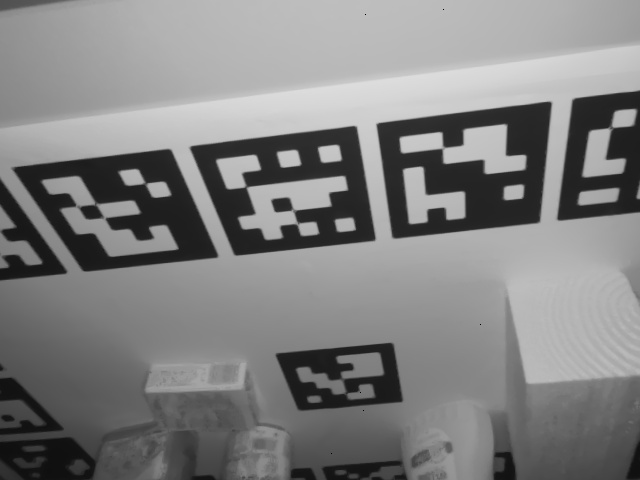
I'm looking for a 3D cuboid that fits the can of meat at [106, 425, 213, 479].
[{"bbox_3d":[-0.158,0.231,0.673,0.101,0.084,0.058,-15,131,16],"label":"can of meat"}]

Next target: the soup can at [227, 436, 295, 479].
[{"bbox_3d":[-0.059,0.251,0.667,0.068,0.103,0.067,-1,132,0],"label":"soup can"}]

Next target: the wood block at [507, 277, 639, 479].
[{"bbox_3d":[0.215,0.131,0.579,0.091,0.090,0.205,-4,138,6],"label":"wood block"}]

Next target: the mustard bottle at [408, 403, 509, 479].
[{"bbox_3d":[0.133,0.248,0.625,0.095,0.193,0.058,-25,129,24],"label":"mustard bottle"}]

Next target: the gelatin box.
[{"bbox_3d":[-0.096,0.142,0.619,0.090,0.030,0.072,0,132,-4],"label":"gelatin box"}]
